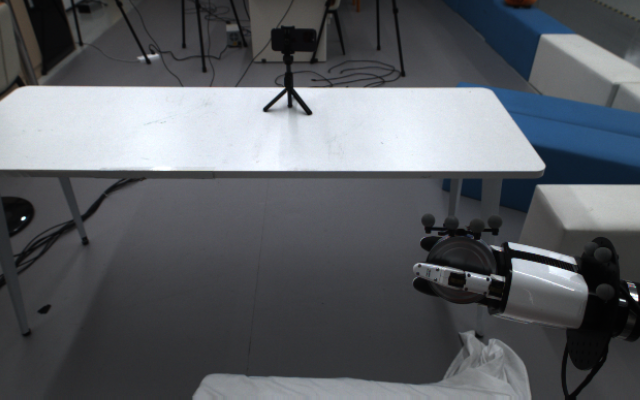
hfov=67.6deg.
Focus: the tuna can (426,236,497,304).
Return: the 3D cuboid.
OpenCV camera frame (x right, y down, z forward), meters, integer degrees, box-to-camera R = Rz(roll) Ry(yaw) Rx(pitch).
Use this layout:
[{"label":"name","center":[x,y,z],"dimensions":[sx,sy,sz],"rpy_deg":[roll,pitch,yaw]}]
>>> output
[{"label":"tuna can","center":[0.178,0.083,0.608],"dimensions":[0.085,0.085,0.034],"rpy_deg":[15,9,18]}]
